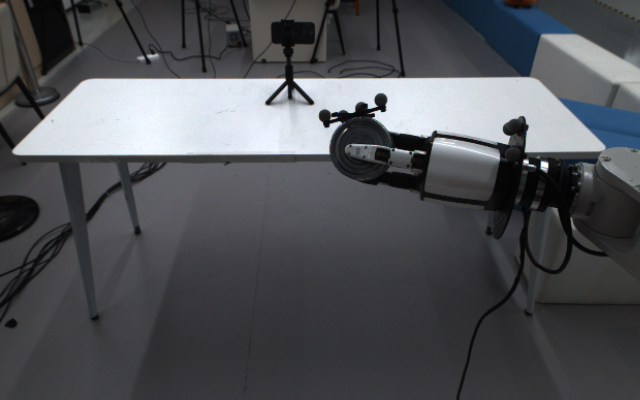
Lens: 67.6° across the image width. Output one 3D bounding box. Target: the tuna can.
[{"bbox_3d":[0.061,-0.064,0.656,0.085,0.085,0.034,12,3,14],"label":"tuna can"}]
